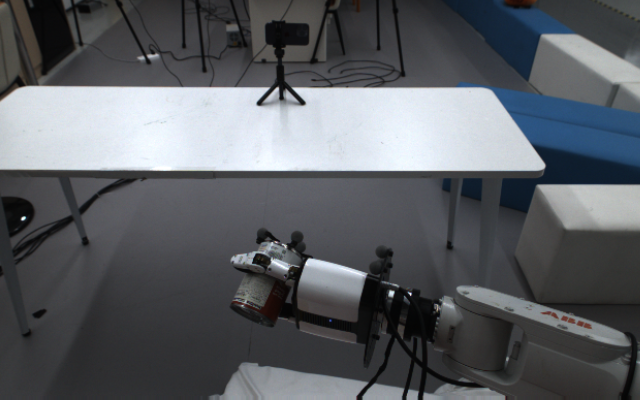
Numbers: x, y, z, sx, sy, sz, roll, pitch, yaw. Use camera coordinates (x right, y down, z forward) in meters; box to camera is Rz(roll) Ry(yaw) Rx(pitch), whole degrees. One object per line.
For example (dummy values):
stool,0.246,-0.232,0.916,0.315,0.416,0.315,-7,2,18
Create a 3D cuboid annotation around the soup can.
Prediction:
soup can,-0.071,0.116,0.670,0.067,0.067,0.101,15,63,18
